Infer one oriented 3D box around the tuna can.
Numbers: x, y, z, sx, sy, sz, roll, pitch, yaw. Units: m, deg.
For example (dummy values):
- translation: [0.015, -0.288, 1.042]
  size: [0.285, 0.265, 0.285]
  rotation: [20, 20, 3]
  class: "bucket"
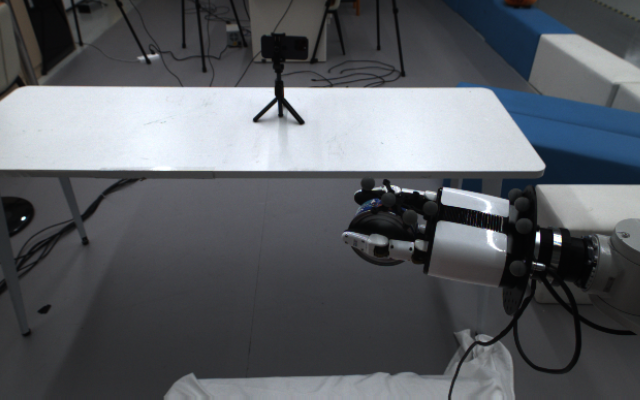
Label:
- translation: [0.083, 0.038, 0.615]
  size: [0.085, 0.085, 0.034]
  rotation: [12, 33, 14]
  class: "tuna can"
